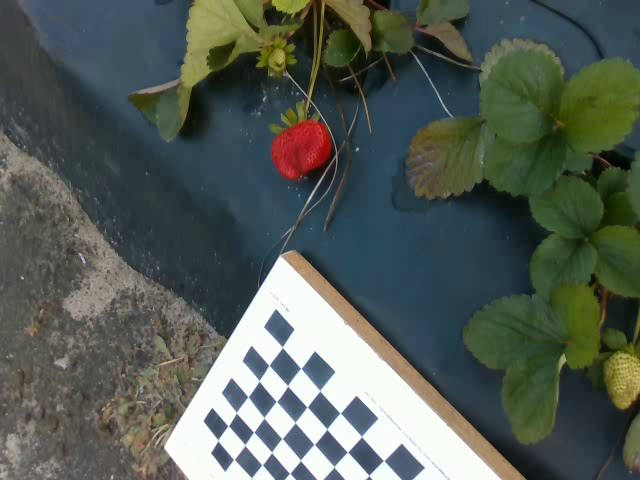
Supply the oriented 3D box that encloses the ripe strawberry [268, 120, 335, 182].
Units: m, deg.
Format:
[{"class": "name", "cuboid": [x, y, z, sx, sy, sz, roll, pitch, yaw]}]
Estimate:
[{"class": "ripe strawberry", "cuboid": [-0.011, -0.017, 0.139, 0.017, 0.015, 0.014, -5, -11, 26]}]
